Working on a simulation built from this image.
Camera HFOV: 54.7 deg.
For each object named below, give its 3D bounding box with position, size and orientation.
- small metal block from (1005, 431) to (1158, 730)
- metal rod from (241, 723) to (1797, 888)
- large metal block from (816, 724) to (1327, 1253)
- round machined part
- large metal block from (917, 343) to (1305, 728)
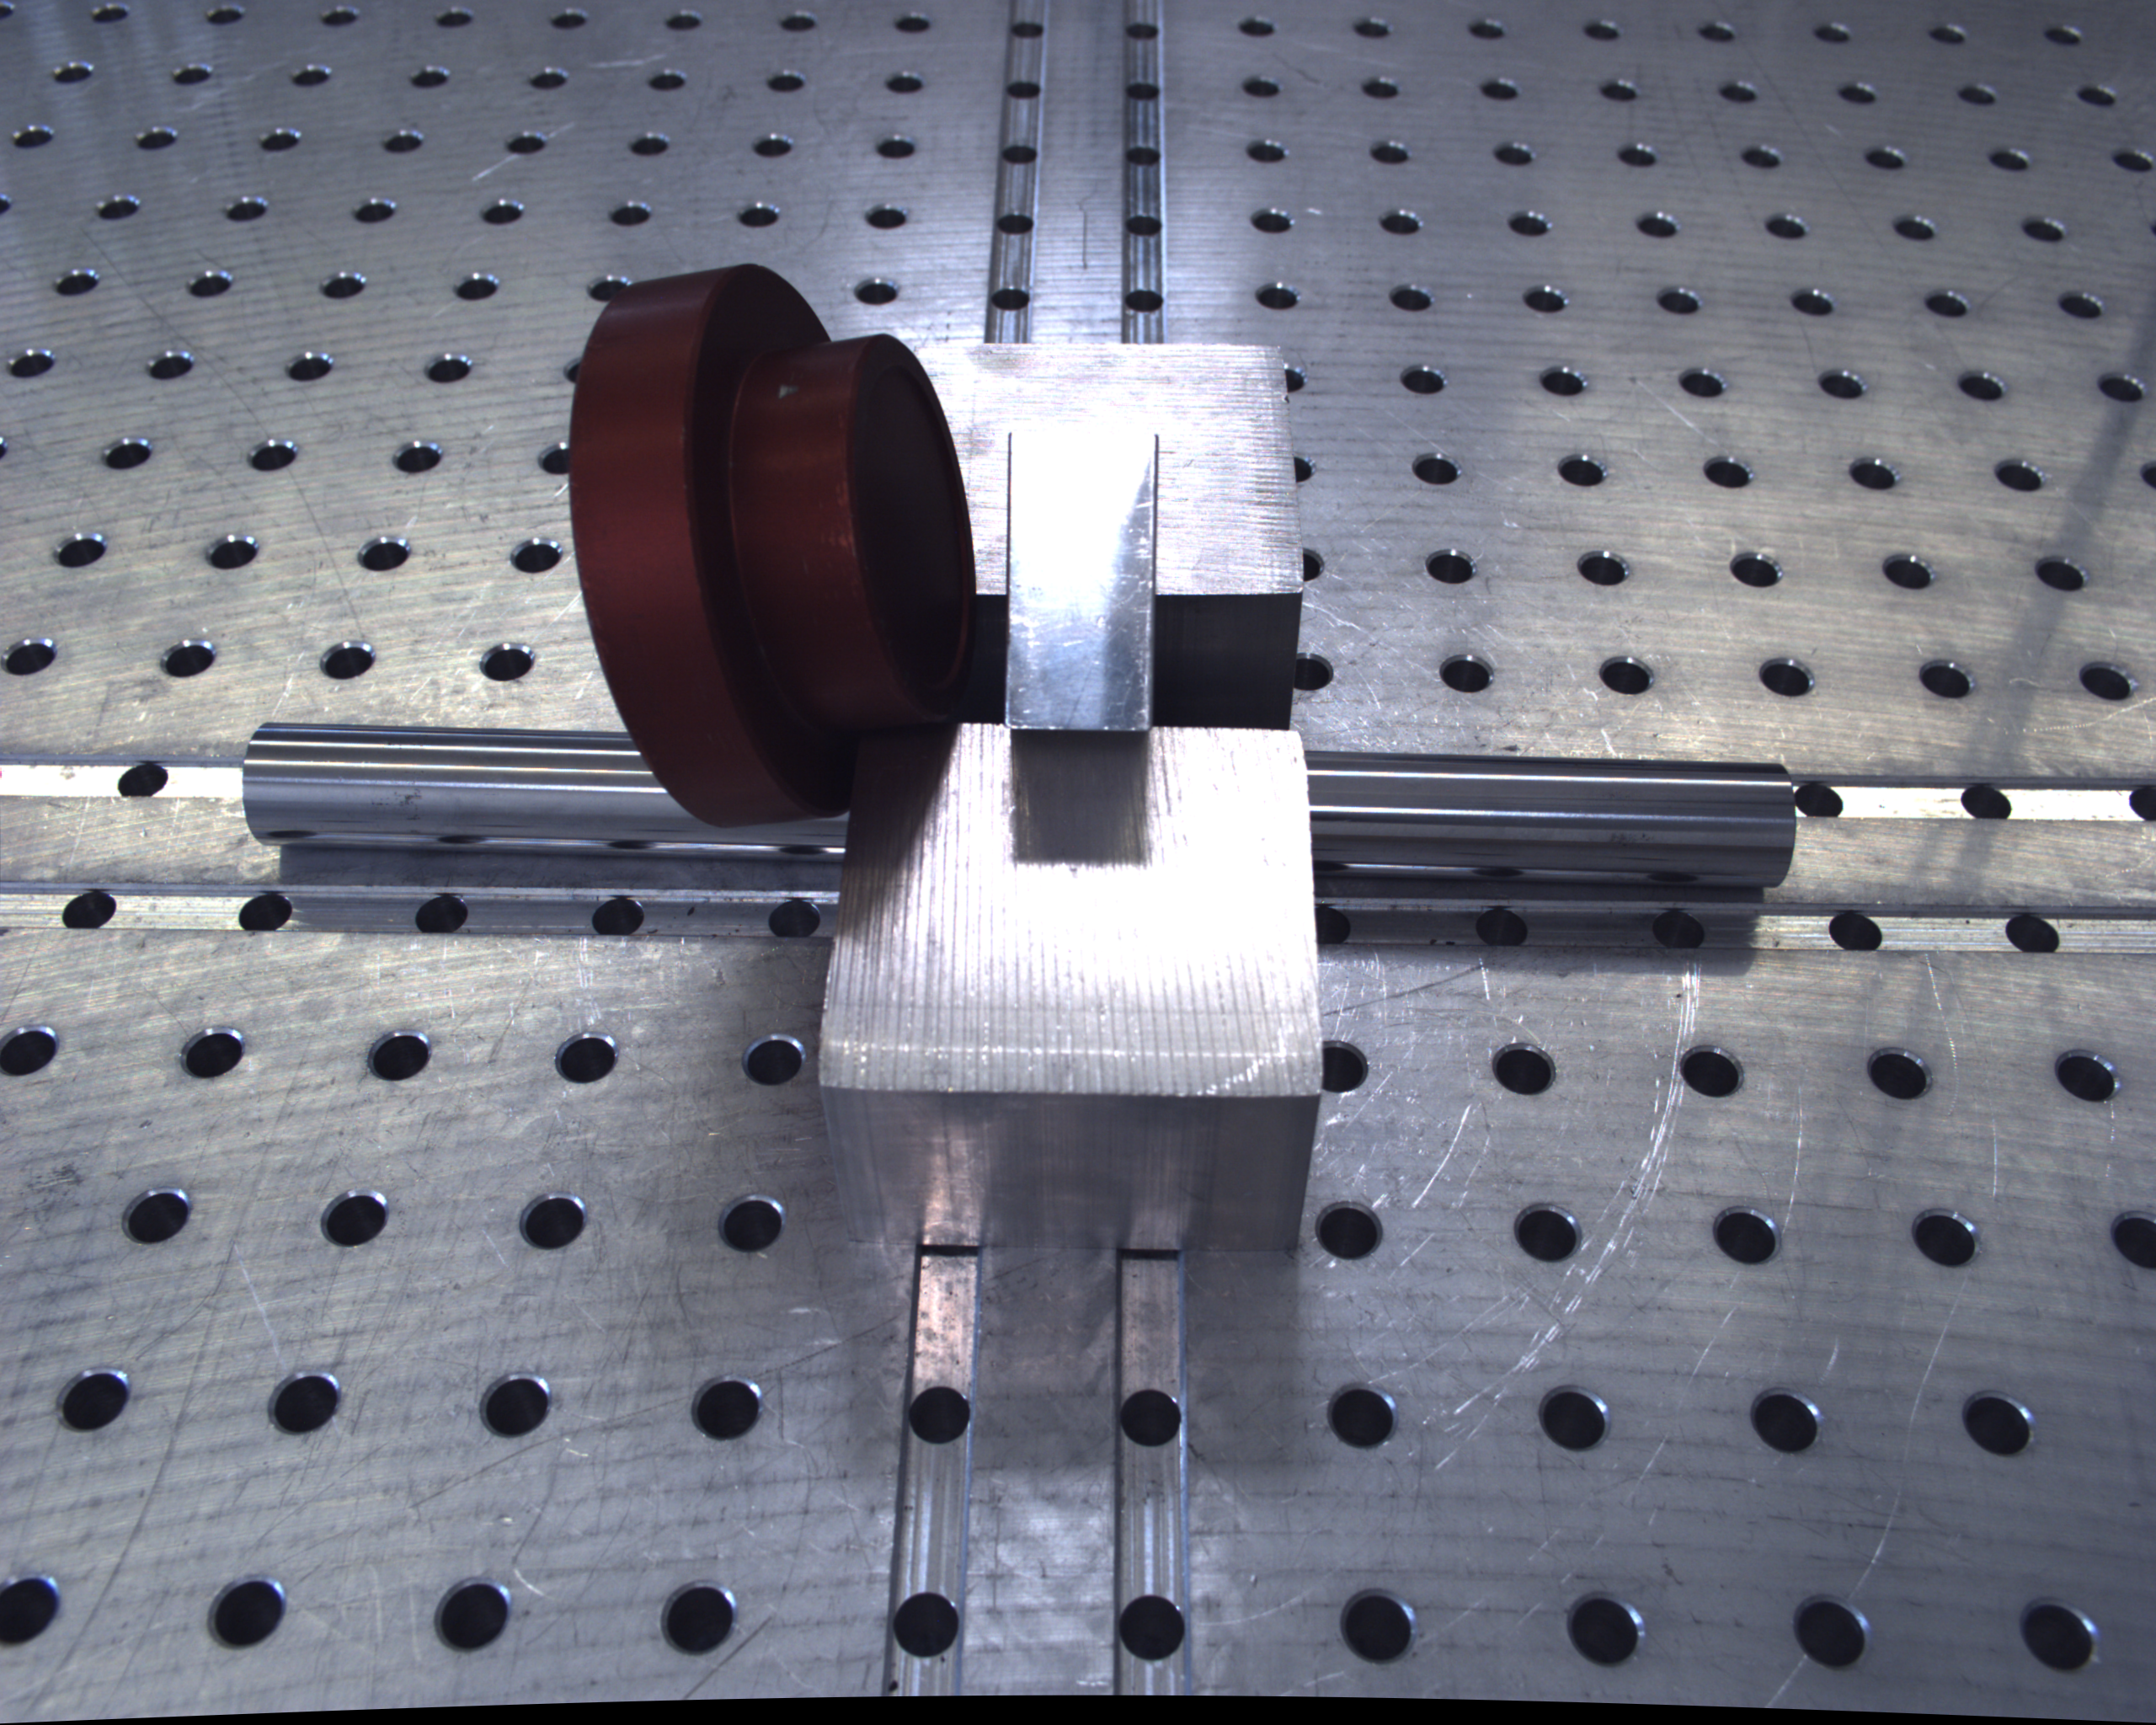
[{"bbox_3d":[0.001,-0.050,0.376,0.025,0.050,0.050,1,6,0],"label":"small metal block"},{"bbox_3d":[-0.012,-0.011,0.417,0.302,0.025,0.025,2,50,1],"label":"metal rod"},{"bbox_3d":[0.000,0.022,0.373,0.080,0.050,0.080,1,50,1],"label":"large metal block"},{"bbox_3d":[-0.048,-0.057,0.370,0.042,0.098,0.098,-6,49,14],"label":"round machined part"},{"bbox_3d":[0.004,-0.066,0.447,0.081,0.050,0.080,1,50,0],"label":"large metal block"}]
